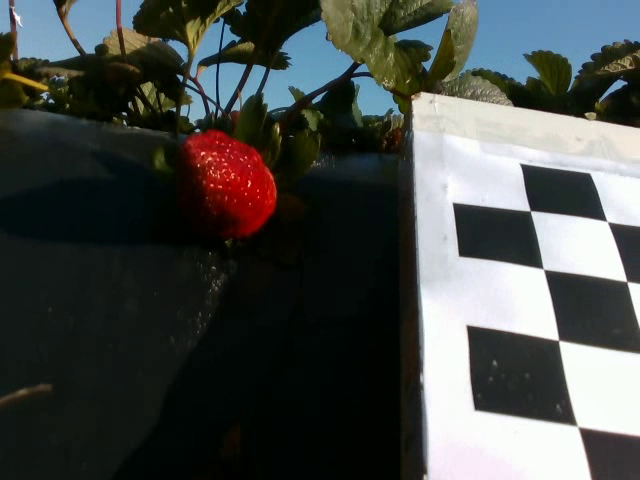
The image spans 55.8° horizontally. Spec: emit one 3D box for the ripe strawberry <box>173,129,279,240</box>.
[{"bbox_3d":[-0.012,-0.007,0.070,0.016,0.015,0.022,15,-5,3],"label":"ripe strawberry"}]
